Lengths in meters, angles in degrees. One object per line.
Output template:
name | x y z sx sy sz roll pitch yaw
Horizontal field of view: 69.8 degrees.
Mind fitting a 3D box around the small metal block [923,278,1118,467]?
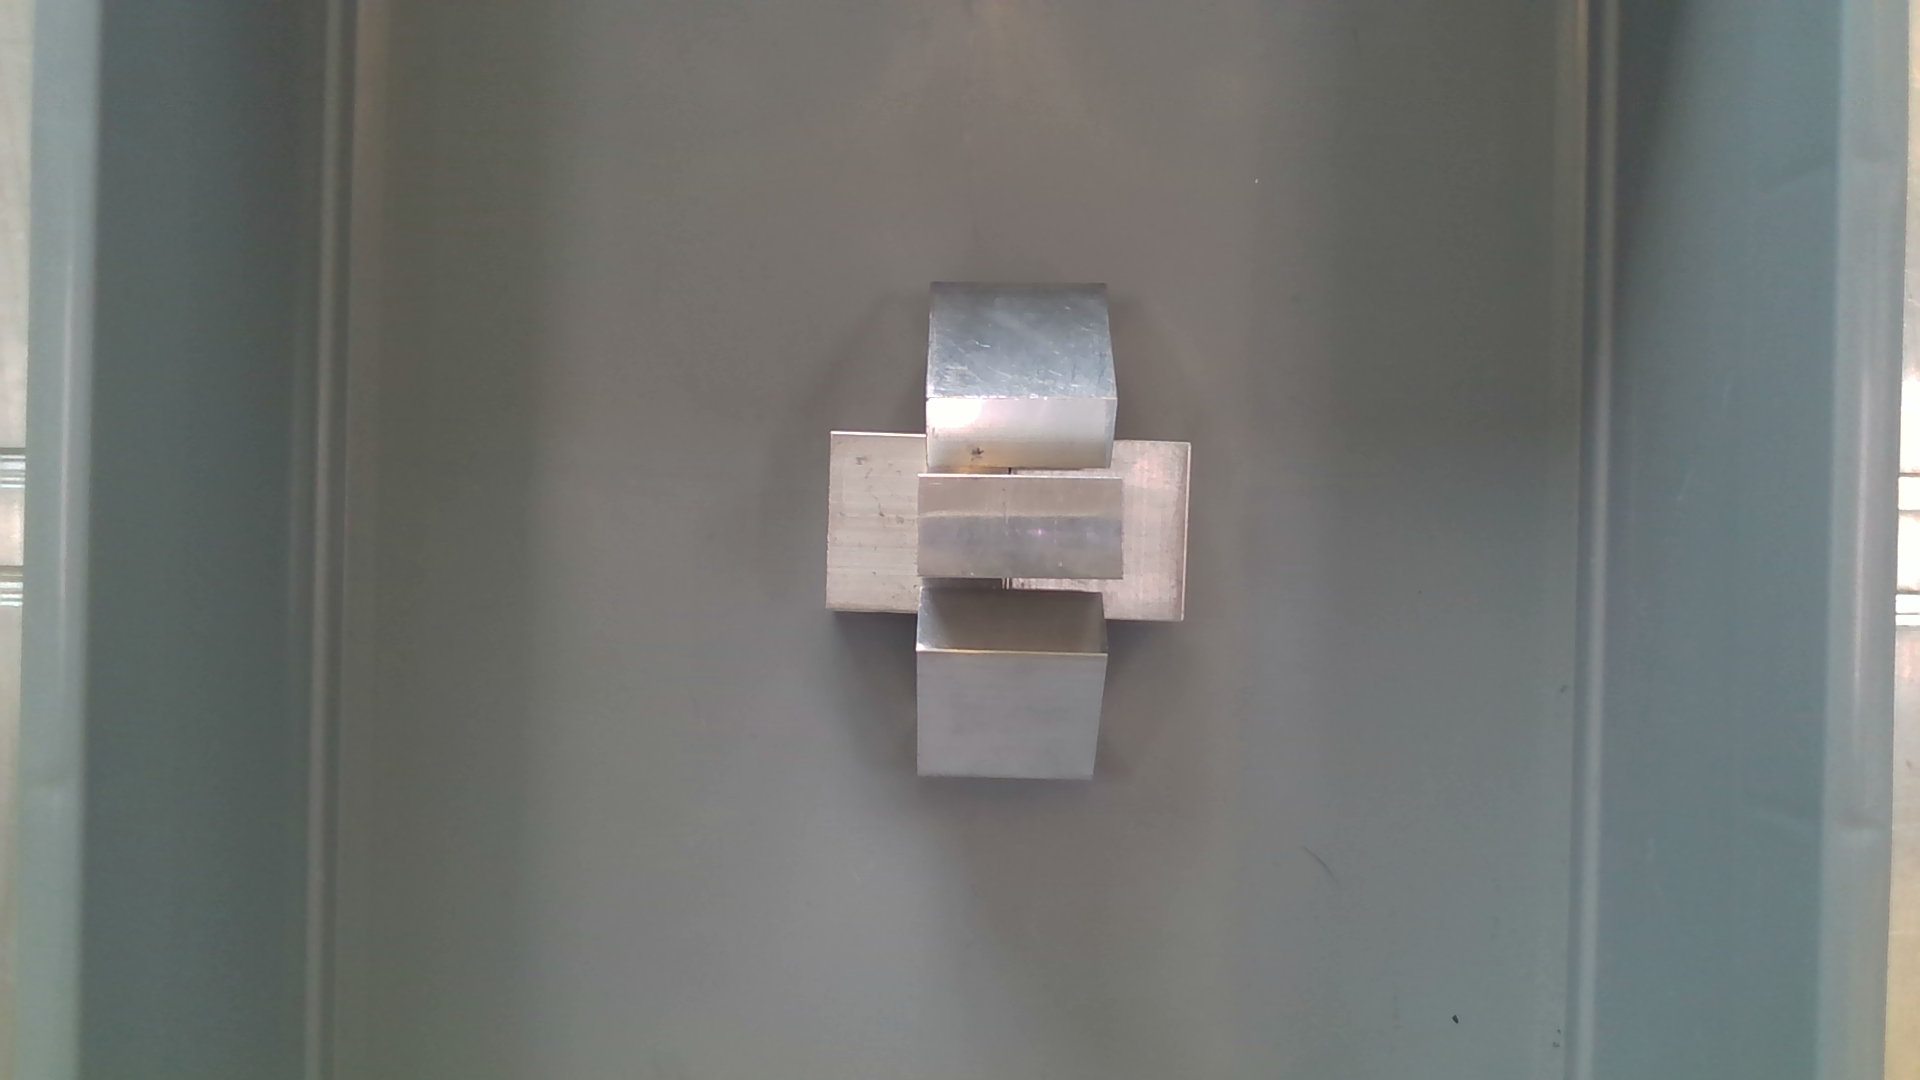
small metal block | 0.016 -0.047 0.380 0.050 0.025 0.050 1 47 0

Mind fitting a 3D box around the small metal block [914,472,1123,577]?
small metal block | 0.014 -0.004 0.356 0.050 0.050 0.025 0 91 0

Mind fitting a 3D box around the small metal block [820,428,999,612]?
small metal block | -0.013 -0.005 0.394 0.050 0.025 0.050 2 90 0

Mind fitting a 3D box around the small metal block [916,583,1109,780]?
small metal block | 0.013 0.040 0.382 0.050 0.025 0.050 2 129 0

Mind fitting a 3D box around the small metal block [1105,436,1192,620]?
small metal block | 0.038 -0.004 0.393 0.050 0.025 0.050 2 91 0
